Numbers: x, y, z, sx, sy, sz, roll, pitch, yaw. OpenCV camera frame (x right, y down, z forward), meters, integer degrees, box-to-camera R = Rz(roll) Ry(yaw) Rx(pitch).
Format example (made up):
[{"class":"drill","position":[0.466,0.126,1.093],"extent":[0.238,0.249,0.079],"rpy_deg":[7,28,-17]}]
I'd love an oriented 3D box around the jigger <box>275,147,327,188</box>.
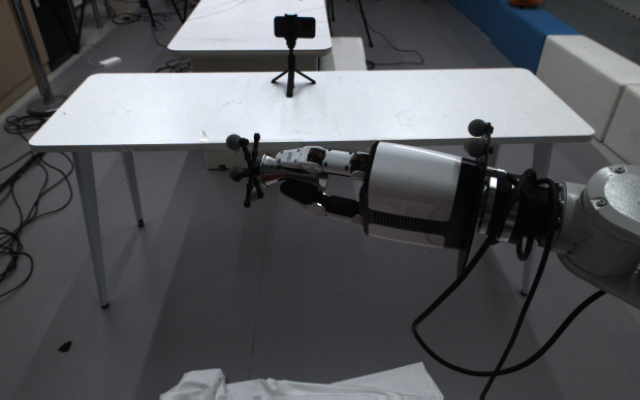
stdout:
[{"class":"jigger","position":[-0.021,-0.036,0.546],"extent":[0.071,0.043,0.043],"rpy_deg":[2,34,14]}]
